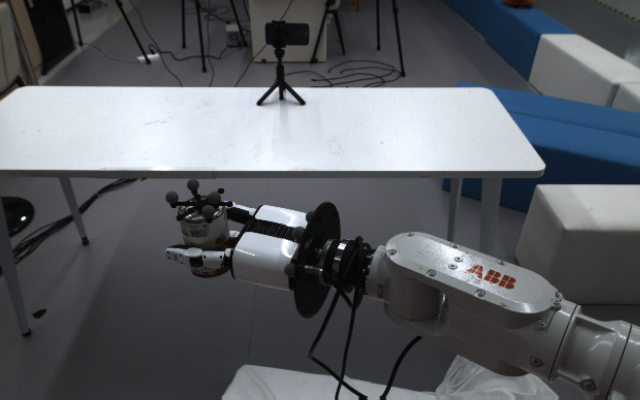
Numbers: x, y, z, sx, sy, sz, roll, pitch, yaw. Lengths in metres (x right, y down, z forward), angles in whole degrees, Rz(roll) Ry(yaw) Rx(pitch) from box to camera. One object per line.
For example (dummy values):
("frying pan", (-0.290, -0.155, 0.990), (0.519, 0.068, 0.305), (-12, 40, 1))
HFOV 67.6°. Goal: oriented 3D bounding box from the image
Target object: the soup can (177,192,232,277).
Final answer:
("soup can", (-0.163, 0.055, 0.702), (0.067, 0.101, 0.067), (-1, 32, 1))
